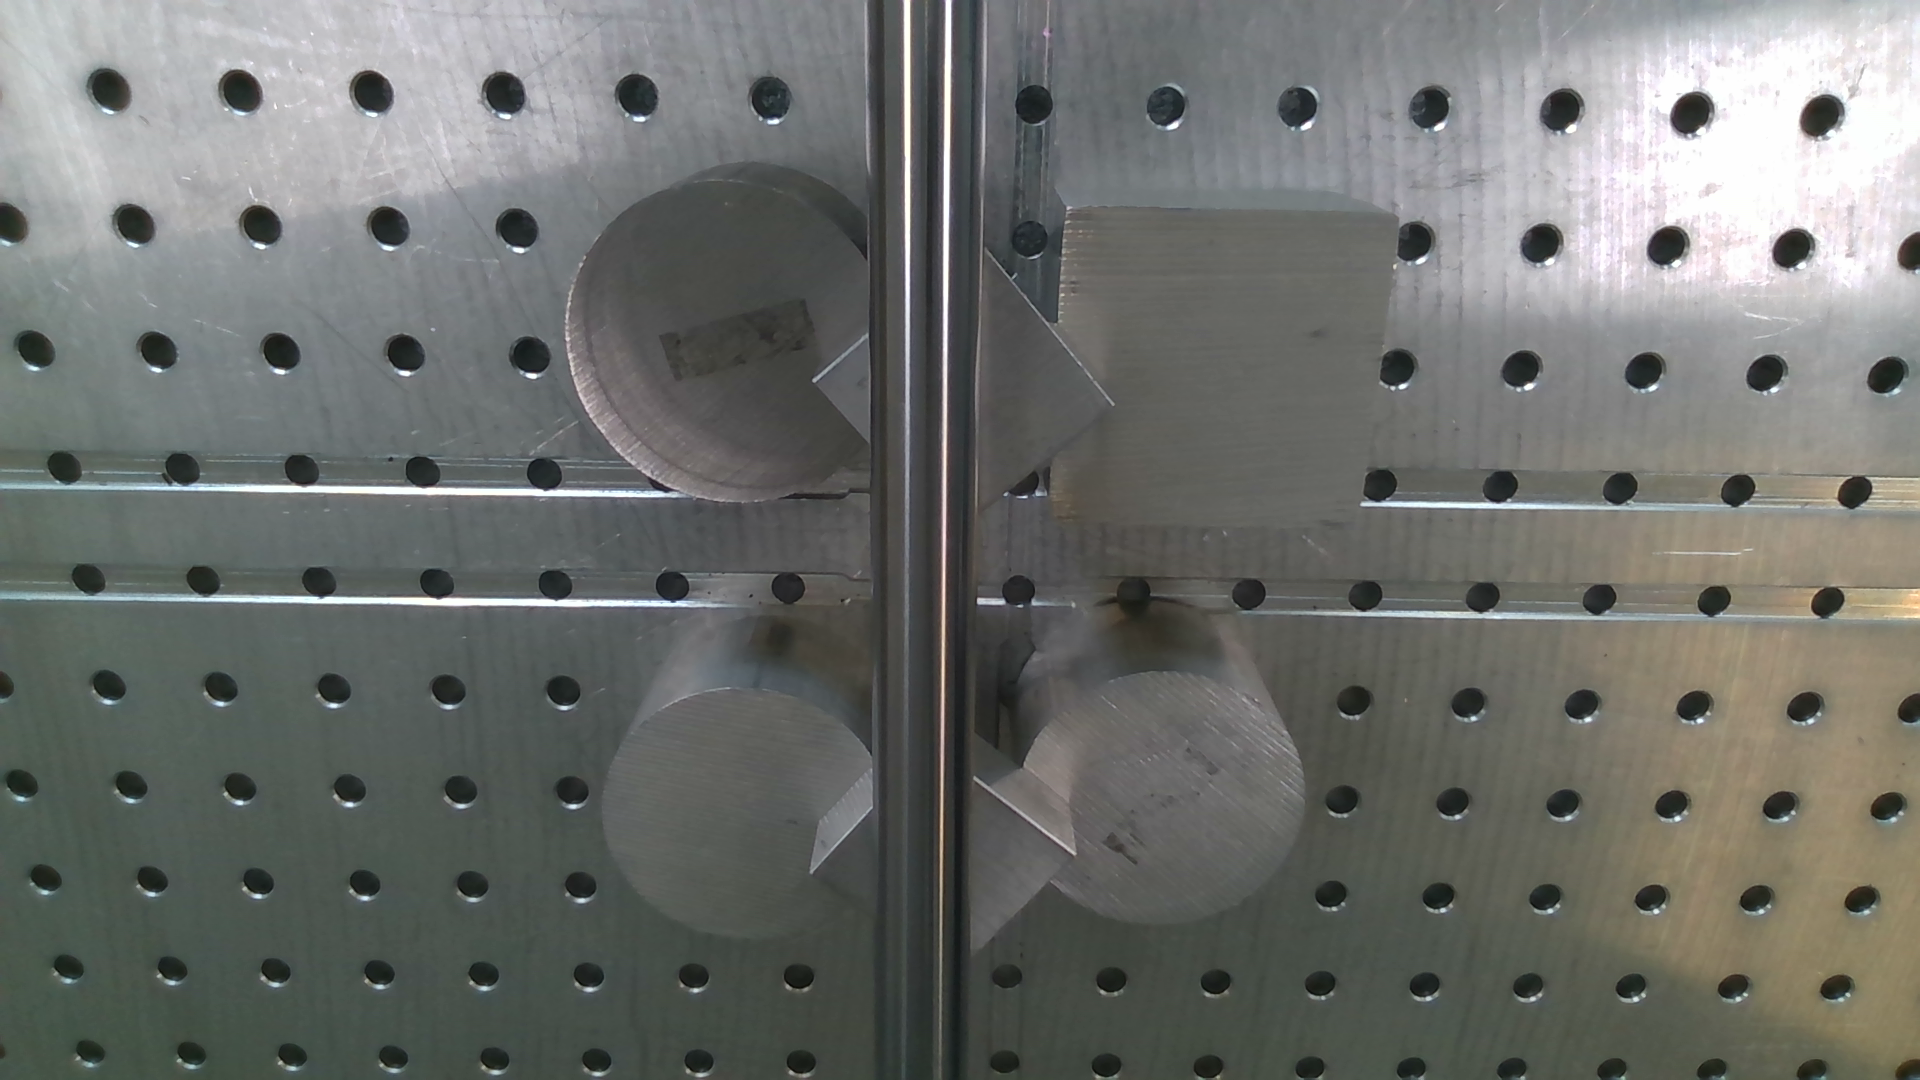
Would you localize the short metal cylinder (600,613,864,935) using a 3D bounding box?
[{"bbox_3d":[-0.060,0.068,0.408,0.080,0.050,0.080,0,110,0],"label":"short metal cylinder"}]

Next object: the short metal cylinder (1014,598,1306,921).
[{"bbox_3d":[0.056,0.064,0.406,0.080,0.050,0.080,0,110,0],"label":"short metal cylinder"}]

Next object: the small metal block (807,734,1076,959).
[{"bbox_3d":[-0.005,0.080,0.373,0.050,0.025,0.050,38,106,-13],"label":"small metal block"}]

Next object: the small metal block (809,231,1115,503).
[{"bbox_3d":[0.001,-0.039,0.329,0.050,0.025,0.050,-38,106,13],"label":"small metal block"}]

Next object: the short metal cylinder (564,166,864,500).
[{"bbox_3d":[-0.057,-0.056,0.361,0.080,0.050,0.080,0,110,0],"label":"short metal cylinder"}]

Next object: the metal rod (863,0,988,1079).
[{"bbox_3d":[-0.009,0.018,0.322,0.025,0.025,0.301,1,110,0],"label":"metal rod"}]

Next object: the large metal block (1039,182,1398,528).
[{"bbox_3d":[0.063,-0.050,0.364,0.080,0.050,0.080,1,110,0],"label":"large metal block"}]
